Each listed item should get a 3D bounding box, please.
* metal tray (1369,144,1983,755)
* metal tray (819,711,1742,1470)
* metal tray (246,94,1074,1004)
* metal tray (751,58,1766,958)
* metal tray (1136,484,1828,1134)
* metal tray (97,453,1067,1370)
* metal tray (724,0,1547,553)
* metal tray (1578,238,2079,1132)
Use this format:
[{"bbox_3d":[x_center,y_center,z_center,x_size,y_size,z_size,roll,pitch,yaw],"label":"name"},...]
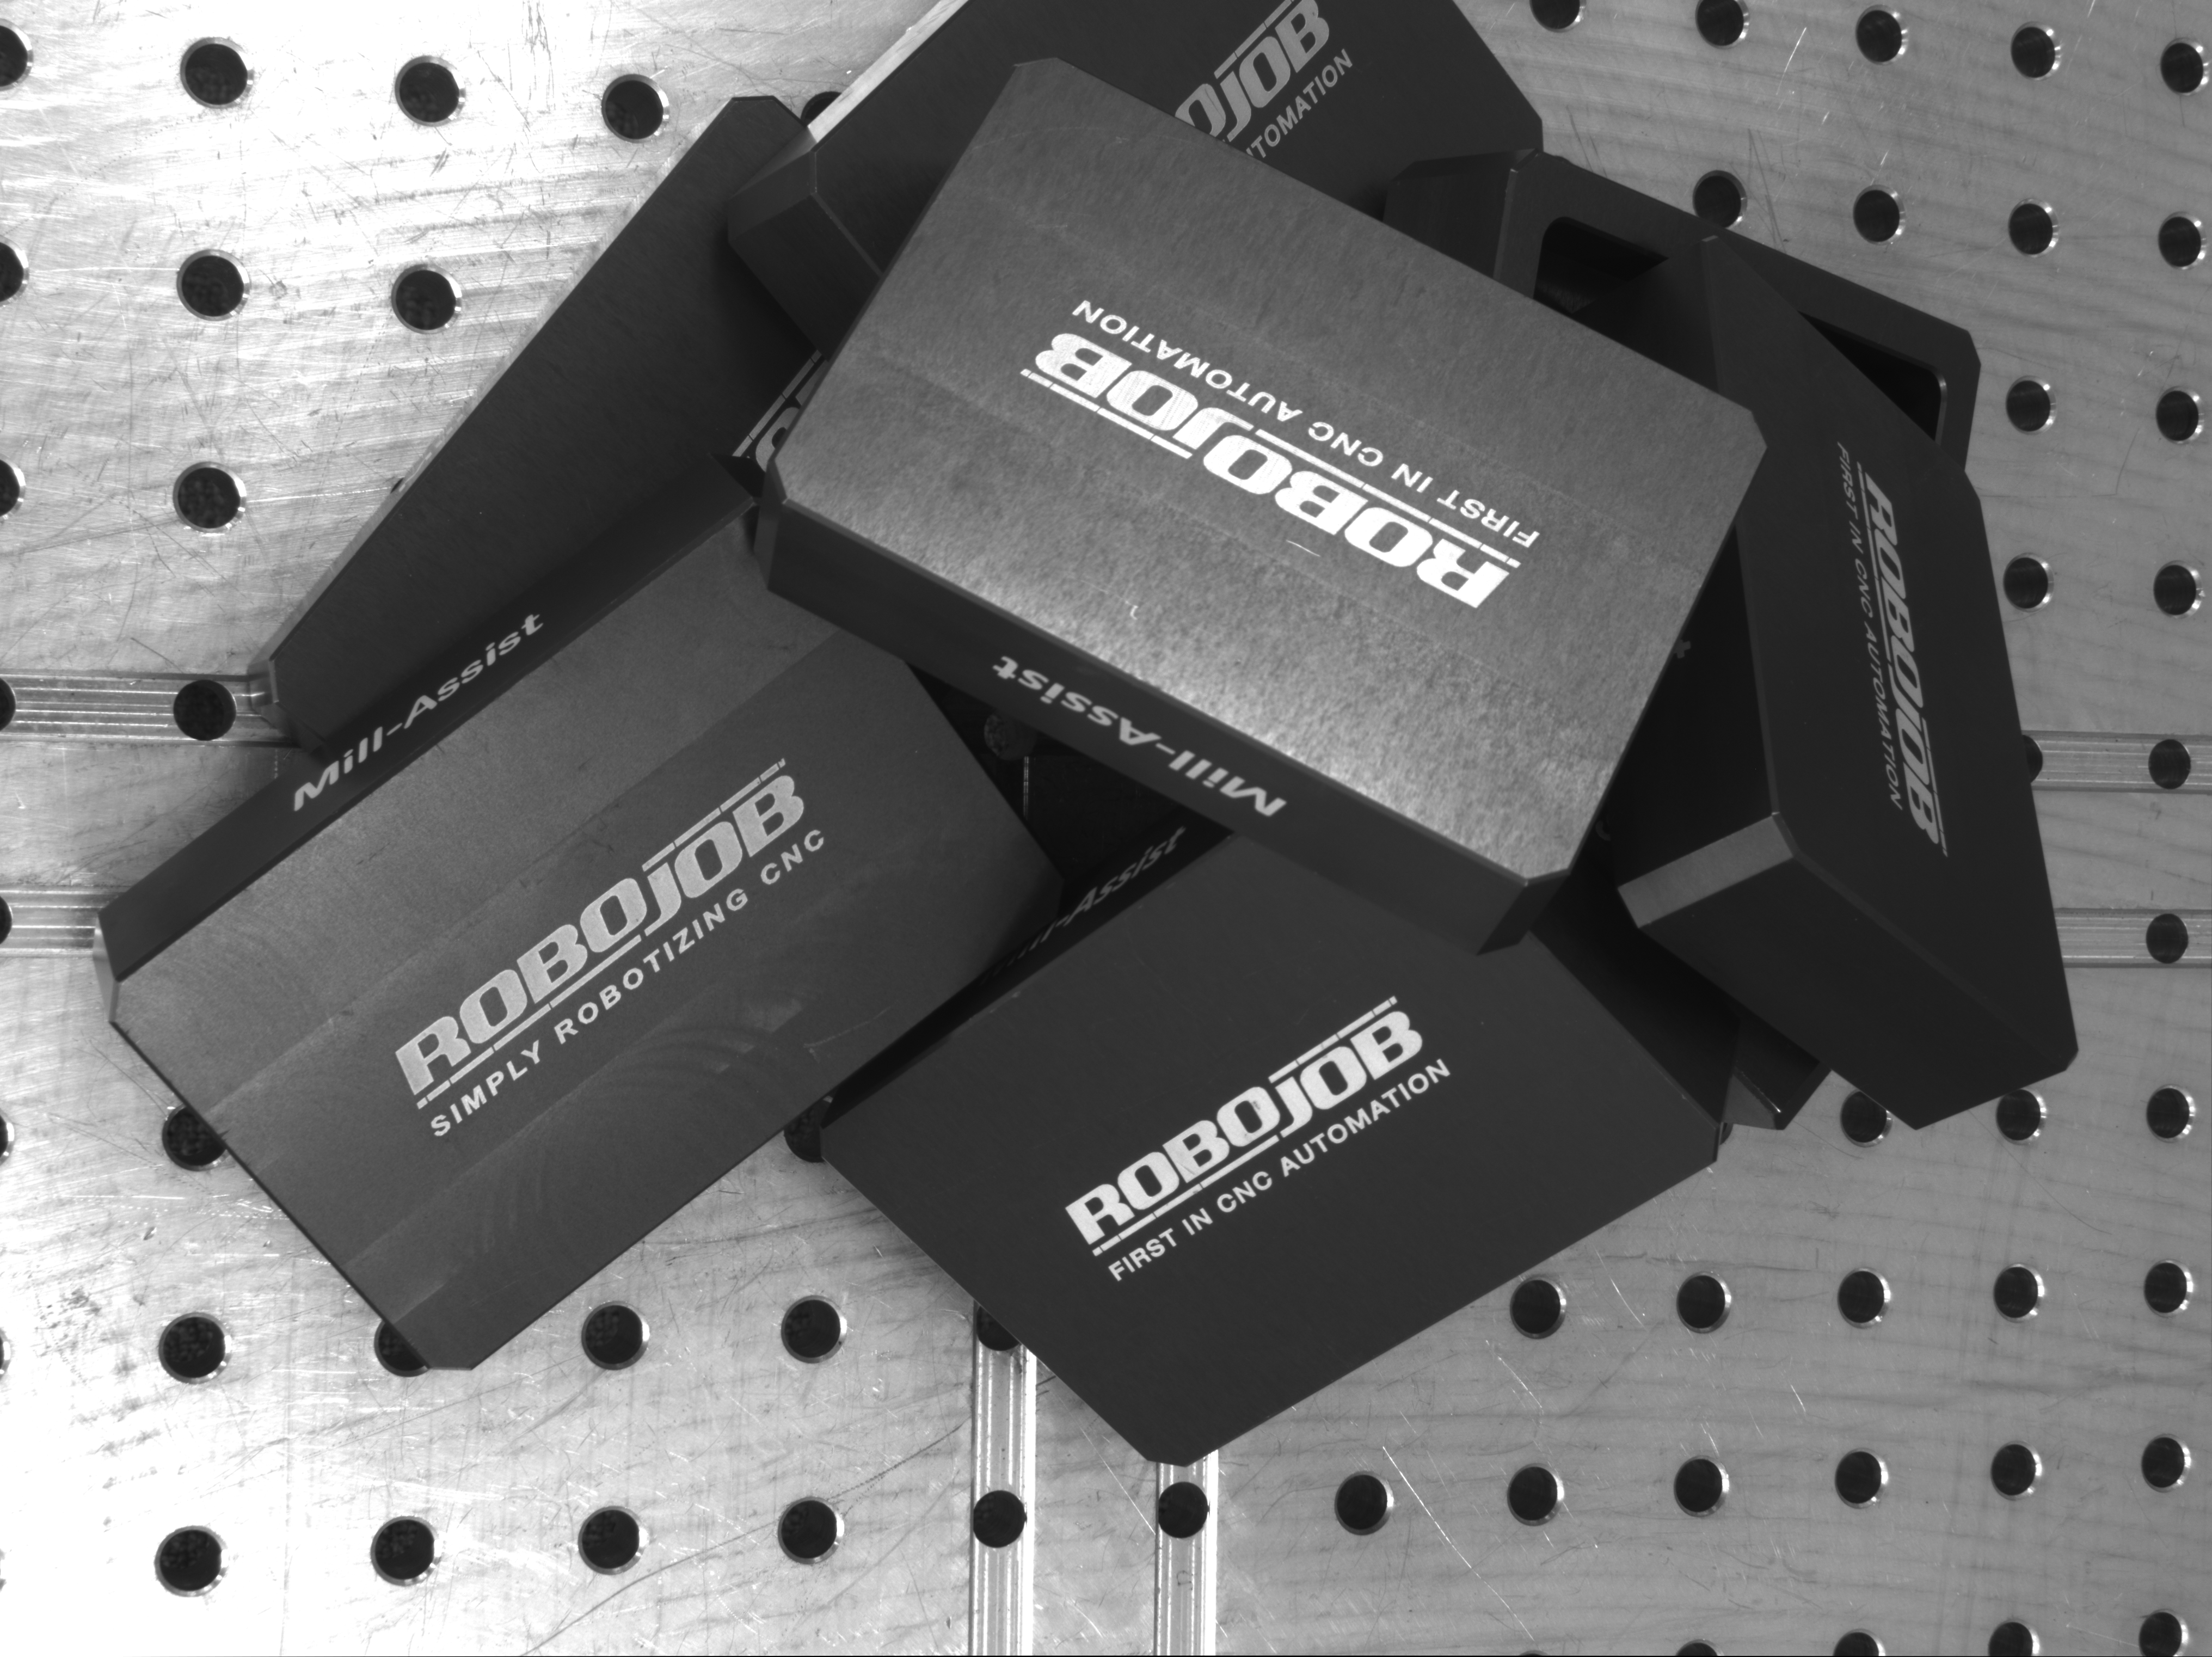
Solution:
[{"bbox_3d":[0.100,-0.060,0.656,0.130,0.030,0.090,13,85,-39],"label":"metal tray"},{"bbox_3d":[0.027,0.044,0.607,0.090,0.130,0.030,45,34,-15],"label":"metal tray"},{"bbox_3d":[-0.069,-0.046,0.618,0.090,0.030,0.130,41,77,-15],"label":"metal tray"},{"bbox_3d":[0.023,-0.050,0.558,0.130,0.030,0.090,28,66,2],"label":"metal tray"},{"bbox_3d":[0.065,-0.005,0.636,0.130,0.090,0.030,46,76,-13],"label":"metal tray"},{"bbox_3d":[-0.083,0.014,0.589,0.130,0.030,0.090,-38,118,-4],"label":"metal tray"},{"bbox_3d":[0.008,-0.111,0.626,0.090,0.030,0.130,49,61,-15],"label":"metal tray"},{"bbox_3d":[0.120,-0.025,0.620,0.090,0.030,0.130,34,43,-37],"label":"metal tray"}]
